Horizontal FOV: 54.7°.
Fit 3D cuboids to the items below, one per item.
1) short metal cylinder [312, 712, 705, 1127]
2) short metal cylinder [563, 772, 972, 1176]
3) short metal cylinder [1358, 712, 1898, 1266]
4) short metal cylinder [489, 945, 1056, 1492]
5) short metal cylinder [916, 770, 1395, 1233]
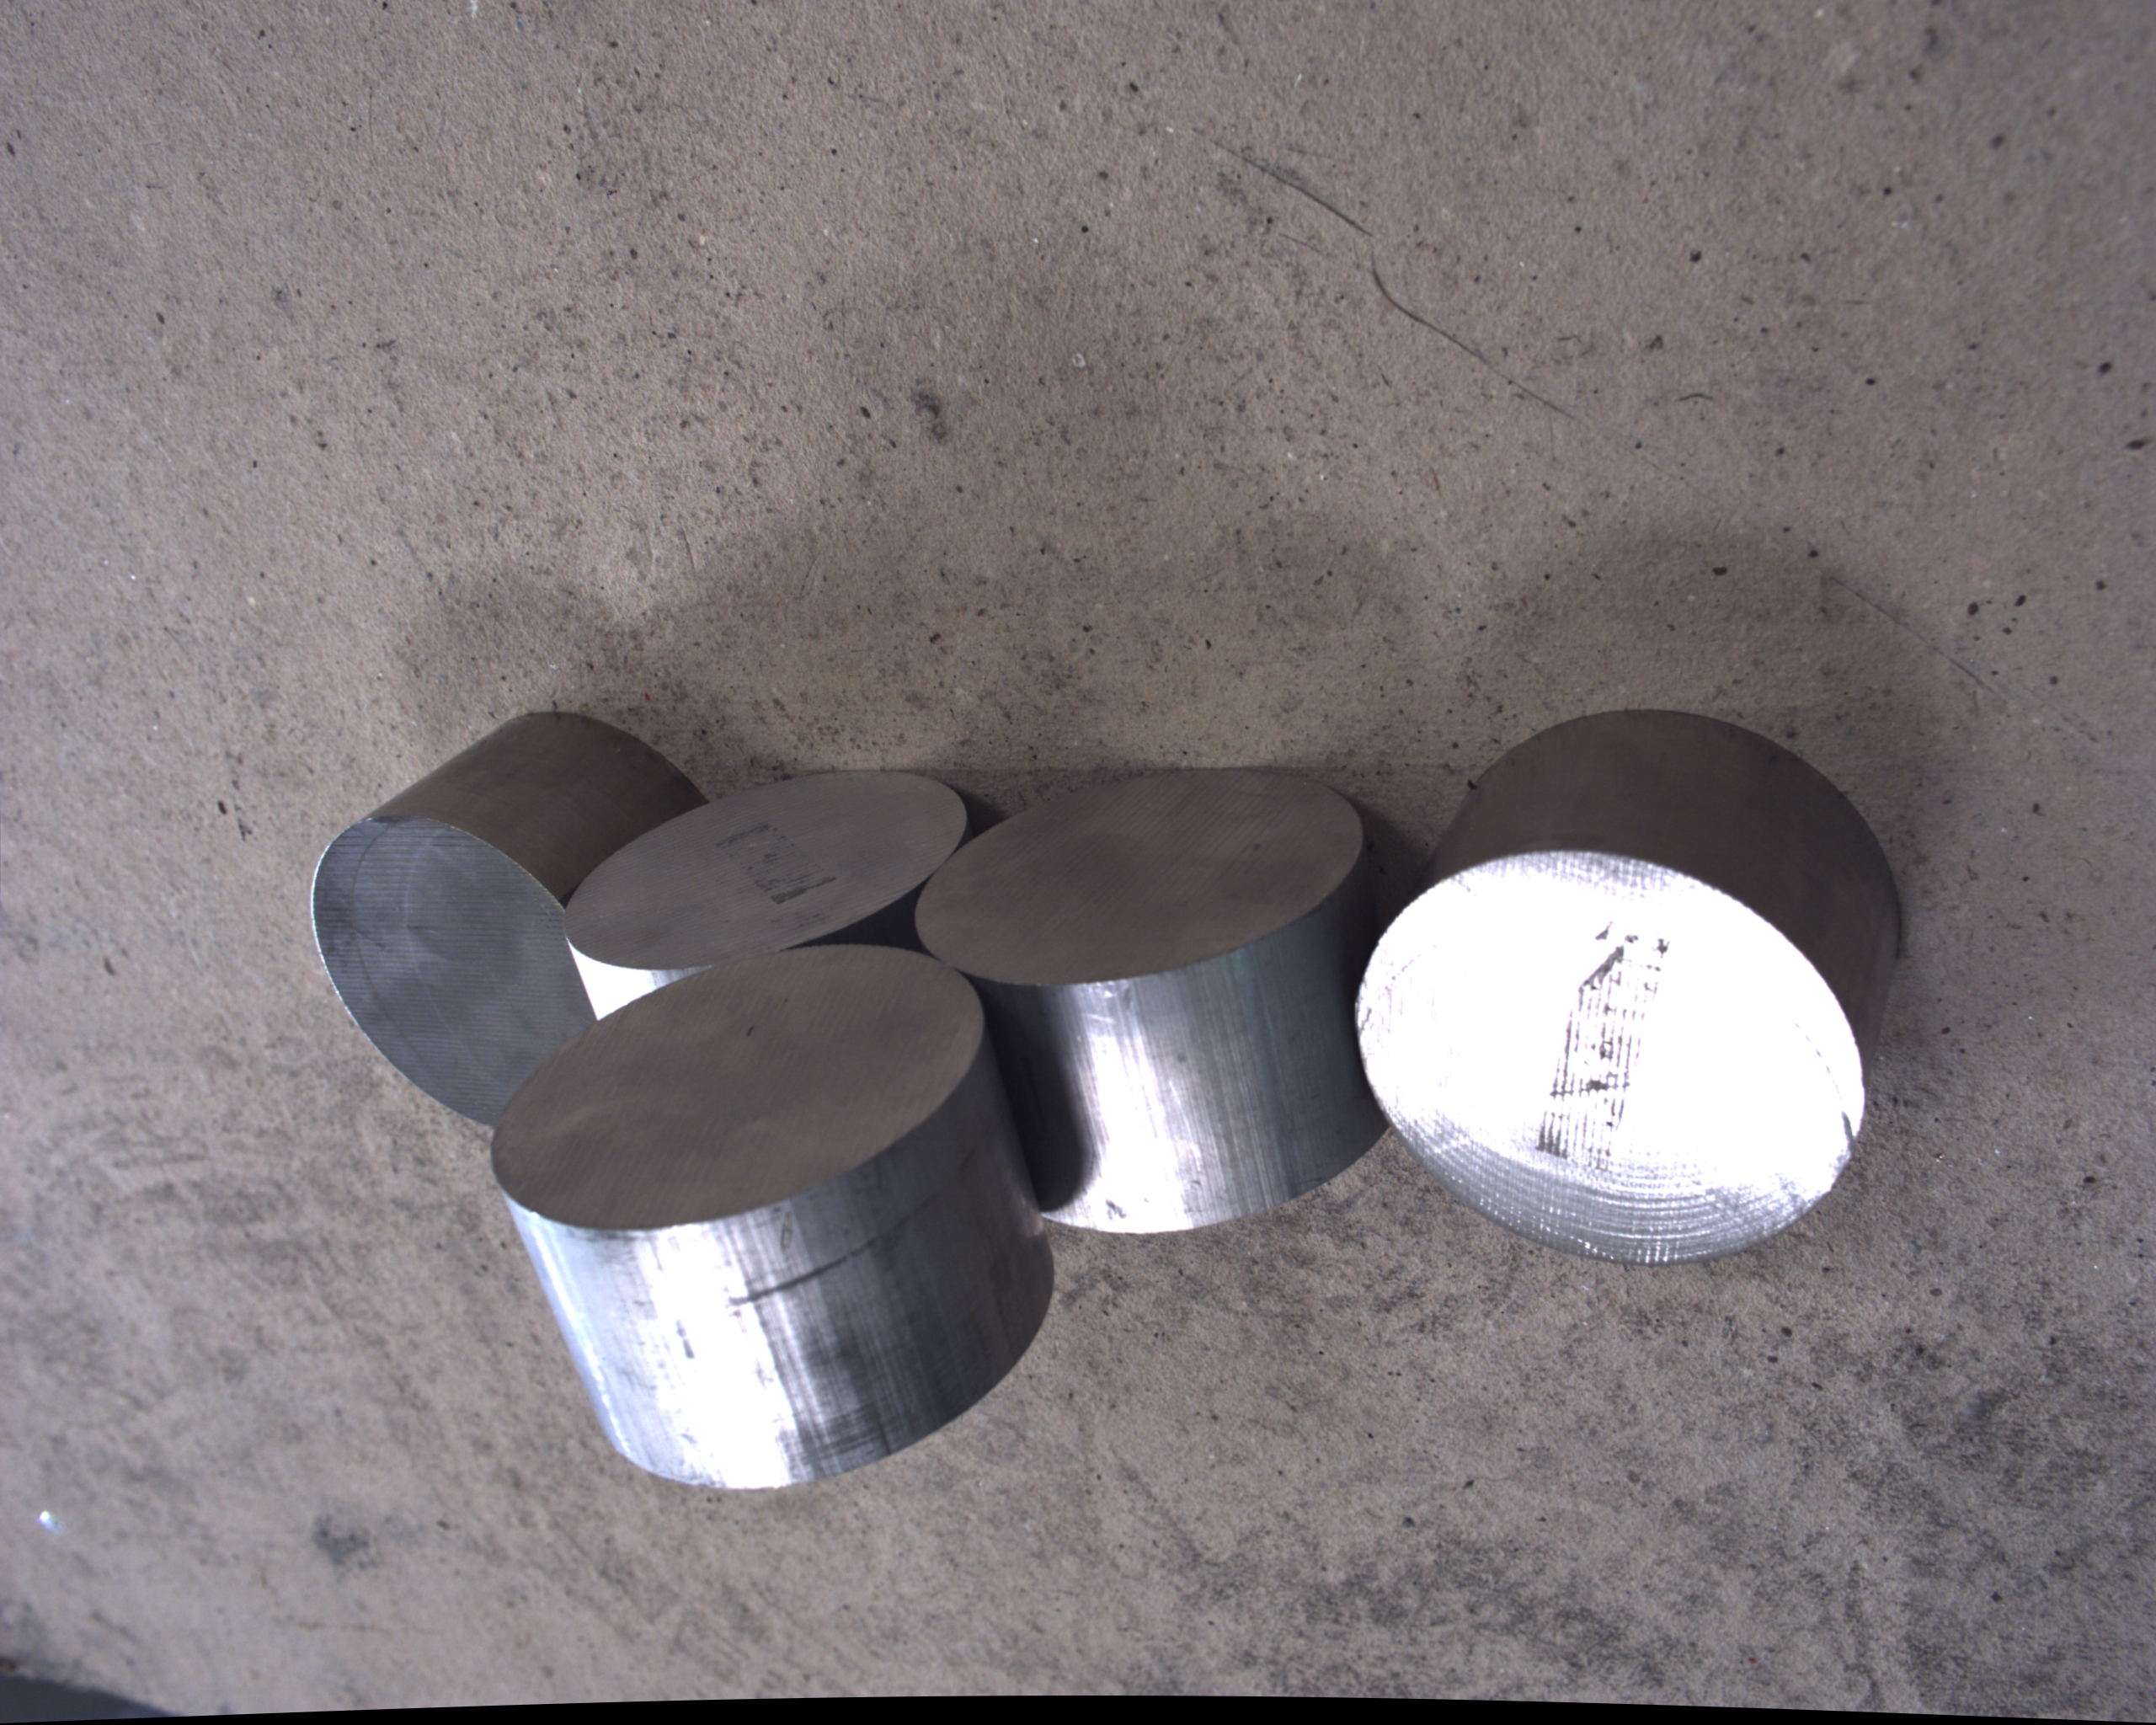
[{"bbox_3d":[-0.120,0.013,0.464,0.080,0.050,0.079,13,124,20],"label":"short metal cylinder"},{"bbox_3d":[-0.055,0.022,0.415,0.080,0.080,0.050,0,119,28],"label":"short metal cylinder"},{"bbox_3d":[0.094,0.021,0.355,0.080,0.050,0.079,13,124,20],"label":"short metal cylinder"},{"bbox_3d":[-0.049,0.056,0.343,0.080,0.080,0.050,1,120,28],"label":"short metal cylinder"},{"bbox_3d":[0.016,0.023,0.379,0.080,0.080,0.050,0,118,28],"label":"short metal cylinder"}]
